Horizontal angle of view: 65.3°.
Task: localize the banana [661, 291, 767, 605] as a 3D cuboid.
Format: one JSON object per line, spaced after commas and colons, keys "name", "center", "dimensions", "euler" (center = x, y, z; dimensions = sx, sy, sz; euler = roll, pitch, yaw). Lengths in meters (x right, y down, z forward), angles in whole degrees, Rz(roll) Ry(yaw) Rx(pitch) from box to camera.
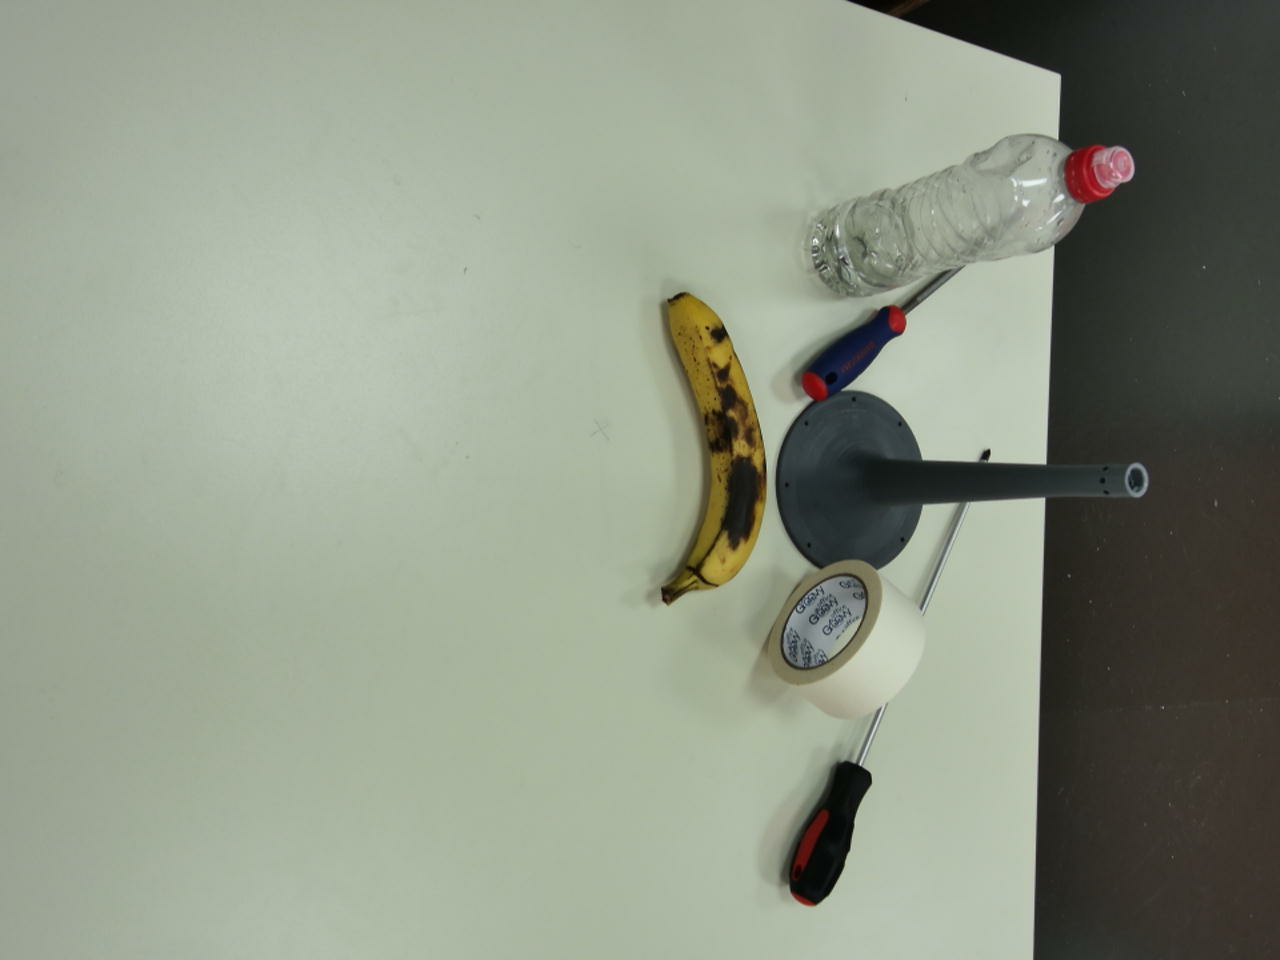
{"name": "banana", "center": [0.055, -0.021, 0.722], "dimensions": [0.084, 0.038, 0.222], "euler": [4, 88, -28]}
